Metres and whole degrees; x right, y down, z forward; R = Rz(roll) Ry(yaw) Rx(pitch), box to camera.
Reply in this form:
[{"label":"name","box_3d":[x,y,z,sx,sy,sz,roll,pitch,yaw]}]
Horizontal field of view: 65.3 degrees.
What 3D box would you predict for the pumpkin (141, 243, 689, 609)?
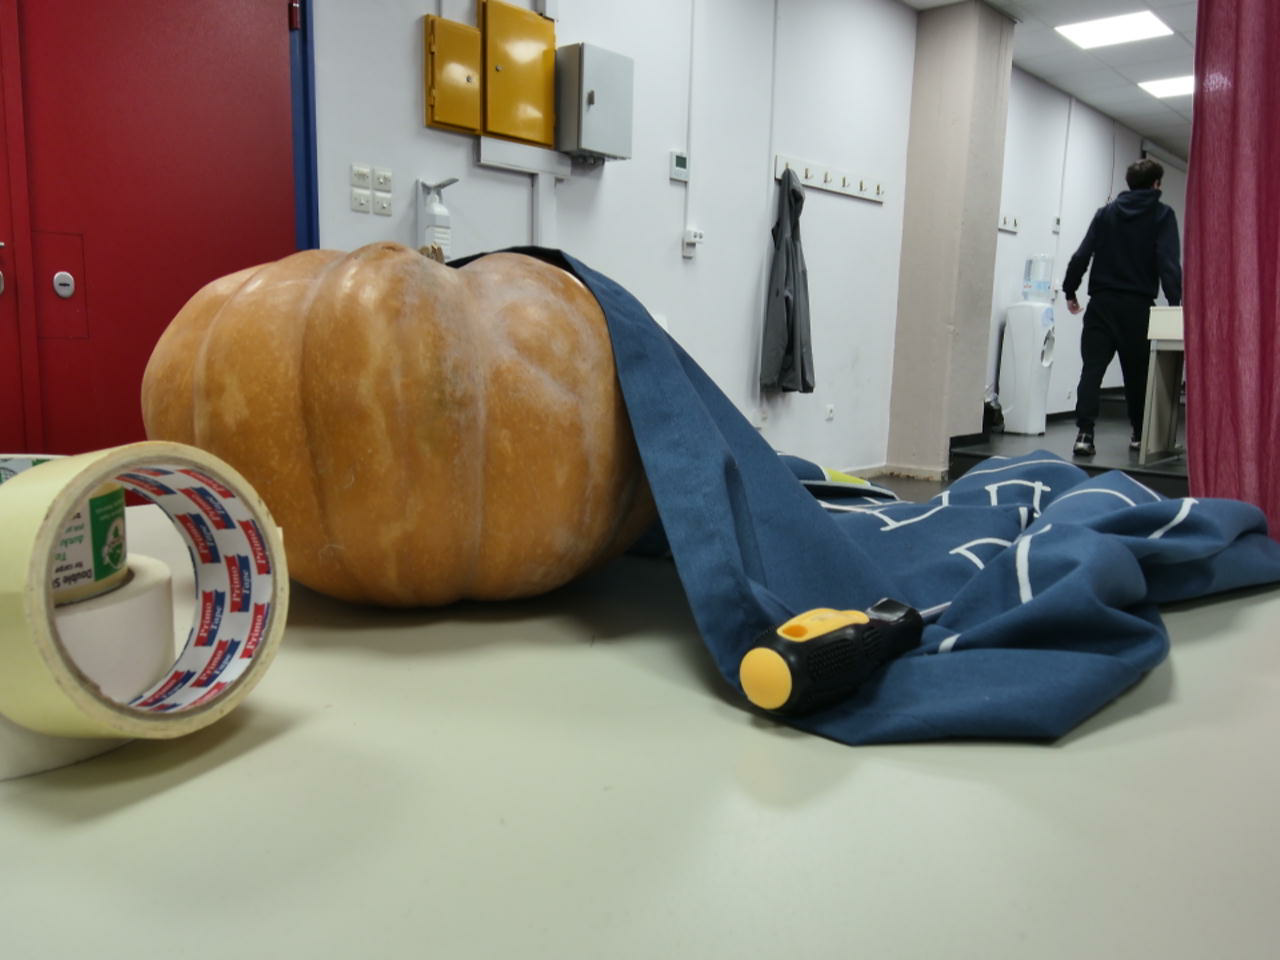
[{"label":"pumpkin","box_3d":[-0.111,-0.030,0.529,0.277,0.181,0.277,0,7,0]}]
